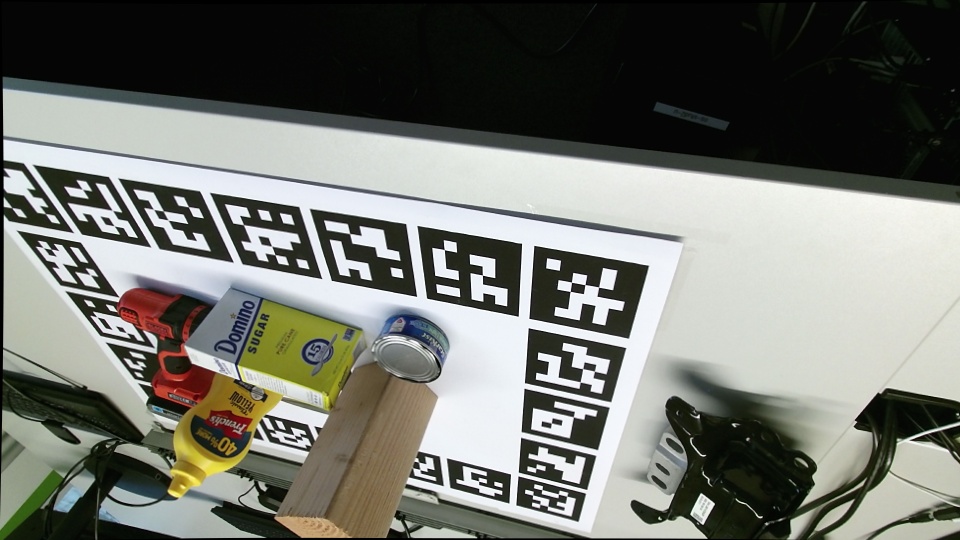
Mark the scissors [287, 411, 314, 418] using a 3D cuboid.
[{"bbox_3d":[-0.201,0.233,0.790,0.203,0.016,0.088,11,136,9],"label":"scissors"}]

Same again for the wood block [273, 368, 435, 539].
[{"bbox_3d":[-0.143,0.223,0.648,0.091,0.205,0.090,-14,122,28],"label":"wood block"}]

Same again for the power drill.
[{"bbox_3d":[-0.386,0.128,0.735,0.185,0.057,0.187,20,126,1],"label":"power drill"}]

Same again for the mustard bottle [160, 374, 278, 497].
[{"bbox_3d":[-0.355,0.211,0.717,0.058,0.191,0.096,-27,116,33],"label":"mustard bottle"}]

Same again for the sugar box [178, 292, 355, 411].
[{"bbox_3d":[-0.250,0.096,0.641,0.177,0.092,0.045,20,136,4],"label":"sugar box"}]

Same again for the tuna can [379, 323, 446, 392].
[{"bbox_3d":[-0.083,0.103,0.623,0.086,0.033,0.086,10,131,12],"label":"tuna can"}]
